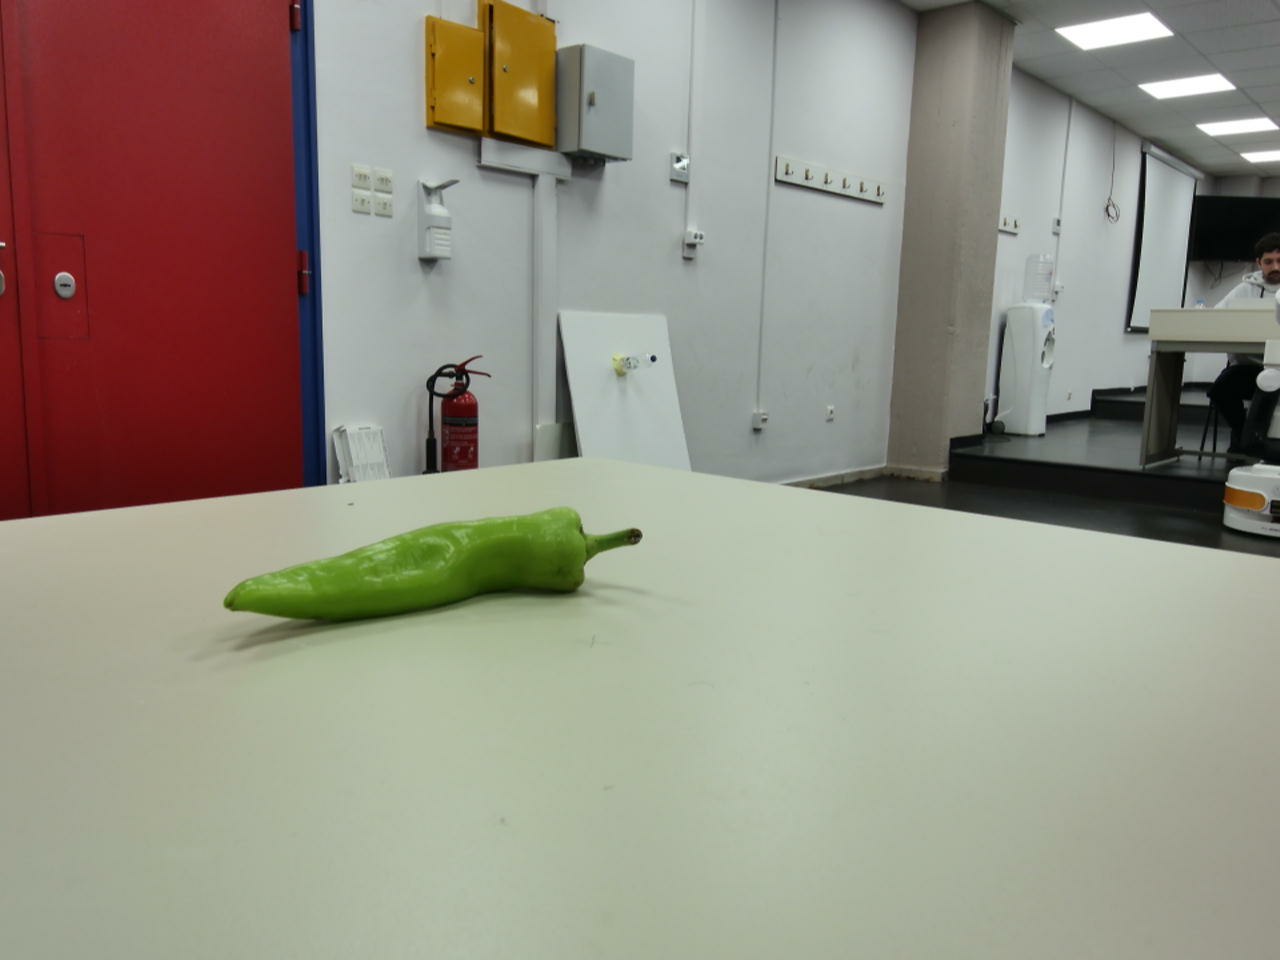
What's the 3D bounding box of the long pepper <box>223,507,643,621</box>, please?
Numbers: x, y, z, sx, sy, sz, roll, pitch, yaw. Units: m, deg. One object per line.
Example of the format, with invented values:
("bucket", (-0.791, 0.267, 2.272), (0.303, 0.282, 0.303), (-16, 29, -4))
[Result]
("long pepper", (-0.102, 0.042, 0.501), (0.204, 0.045, 0.065), (-5, 8, -32))
